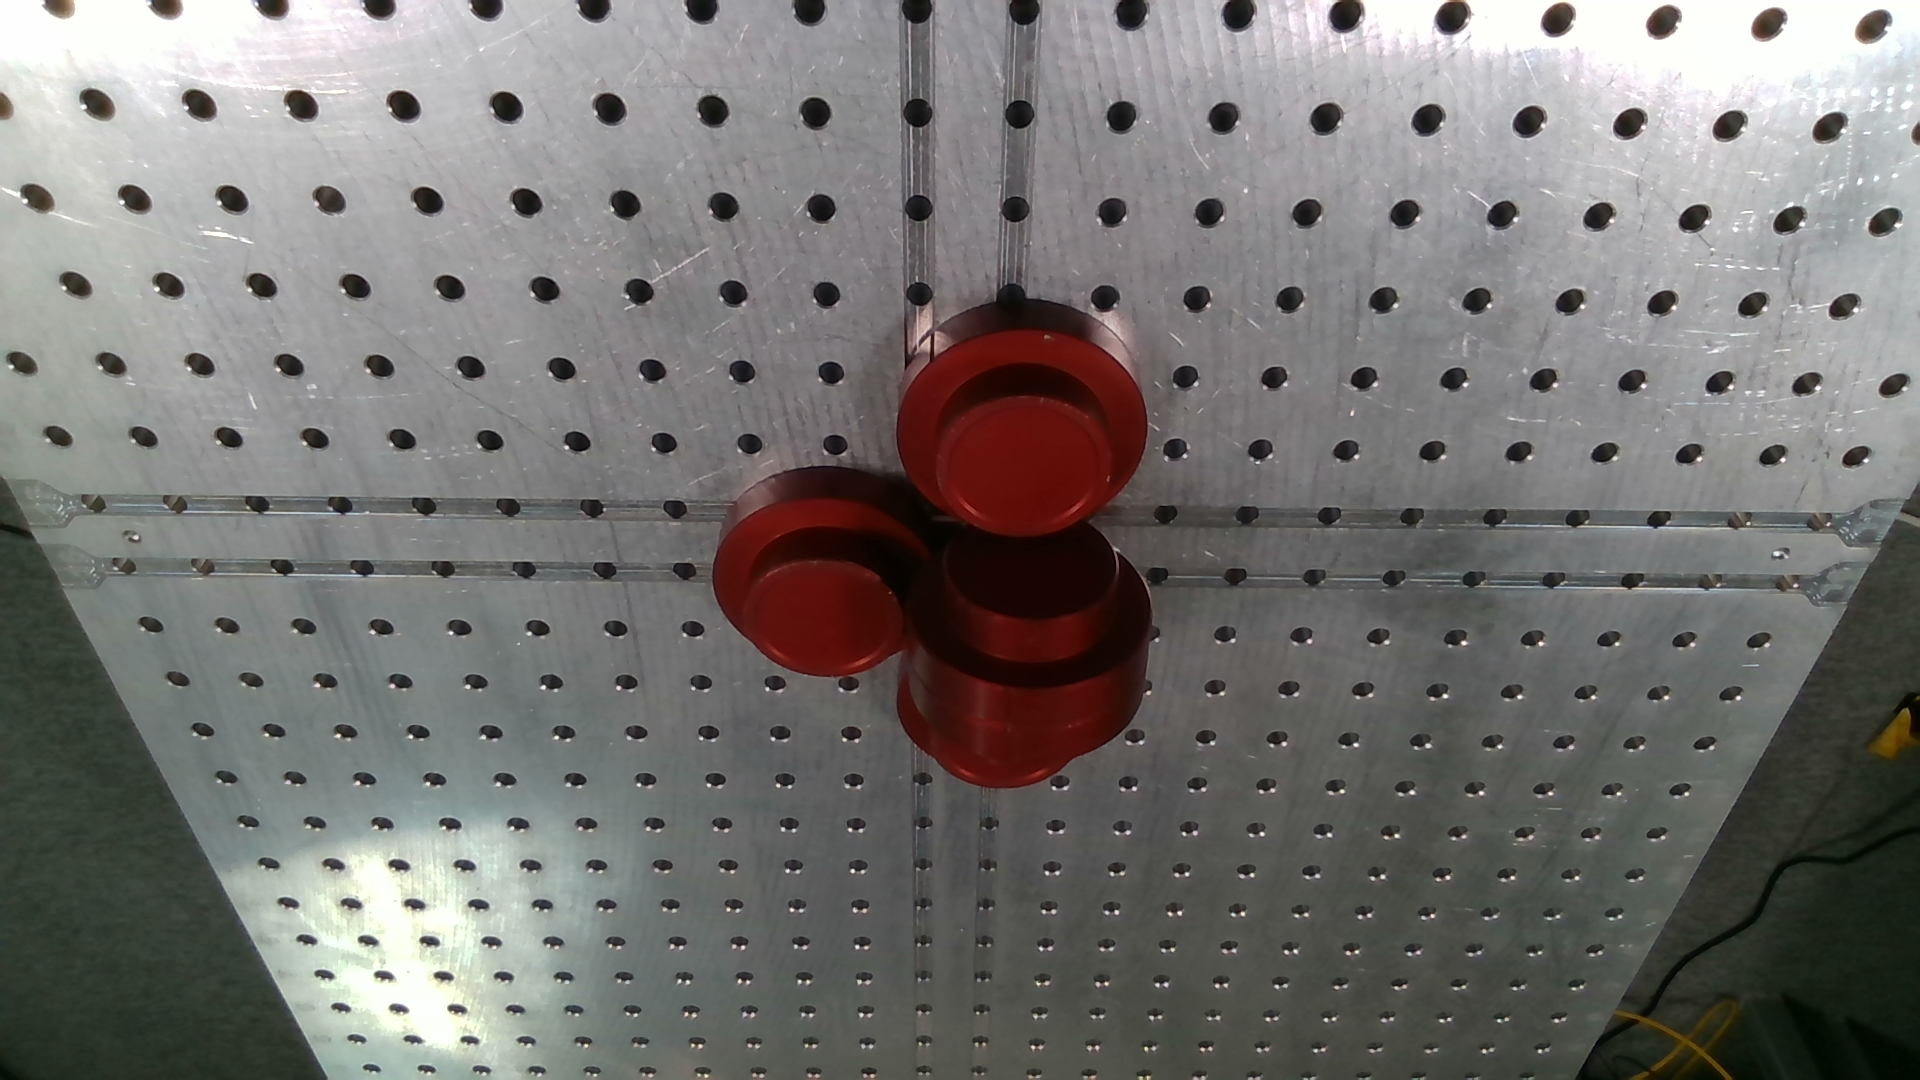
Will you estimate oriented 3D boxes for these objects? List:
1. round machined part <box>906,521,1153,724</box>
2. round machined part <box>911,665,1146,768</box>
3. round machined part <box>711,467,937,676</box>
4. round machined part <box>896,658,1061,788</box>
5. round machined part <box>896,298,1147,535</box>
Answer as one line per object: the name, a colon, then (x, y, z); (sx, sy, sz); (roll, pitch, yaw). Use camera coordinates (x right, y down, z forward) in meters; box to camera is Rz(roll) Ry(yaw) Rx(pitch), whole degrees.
round machined part: (0.028, 0.023, 0.546); (0.098, 0.098, 0.042); (1, 130, -1)
round machined part: (0.028, 0.056, 0.575); (0.098, 0.098, 0.042); (-1, 130, 1)
round machined part: (-0.057, 0.020, 0.588); (0.098, 0.042, 0.098); (0, 130, 0)
round machined part: (0.019, 0.077, 0.635); (0.098, 0.042, 0.098); (0, 130, 0)
round machined part: (0.024, -0.041, 0.536); (0.098, 0.042, 0.098); (0, 130, 0)
